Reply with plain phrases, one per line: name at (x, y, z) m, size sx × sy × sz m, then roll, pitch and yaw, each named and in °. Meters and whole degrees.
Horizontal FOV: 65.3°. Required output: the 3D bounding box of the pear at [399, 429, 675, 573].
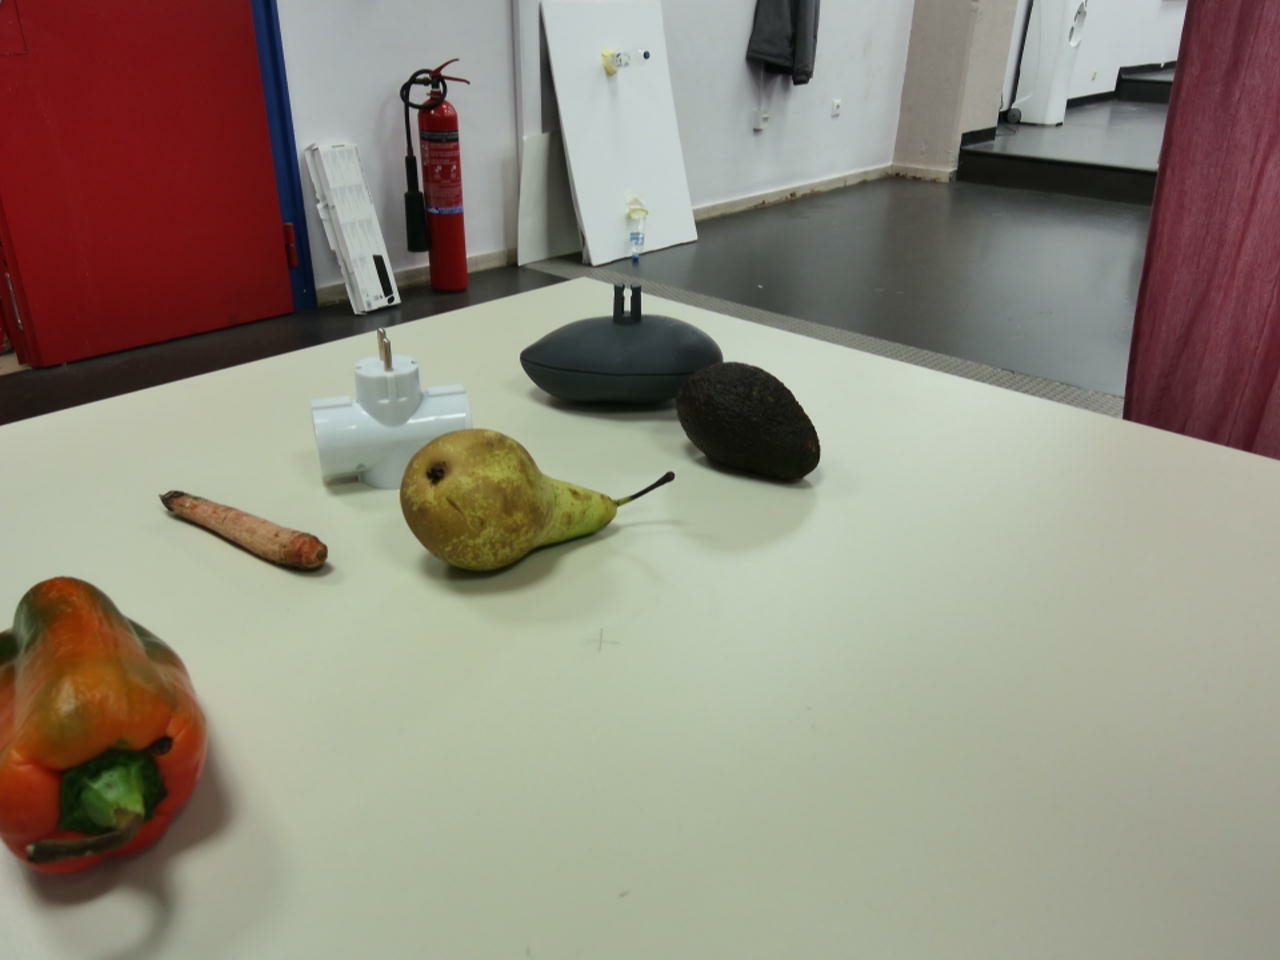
pear at (-0.058, 0.000, 0.528) m, size 0.144 × 0.075 × 0.072 m, roll -21°, pitch 31°, yaw -37°
